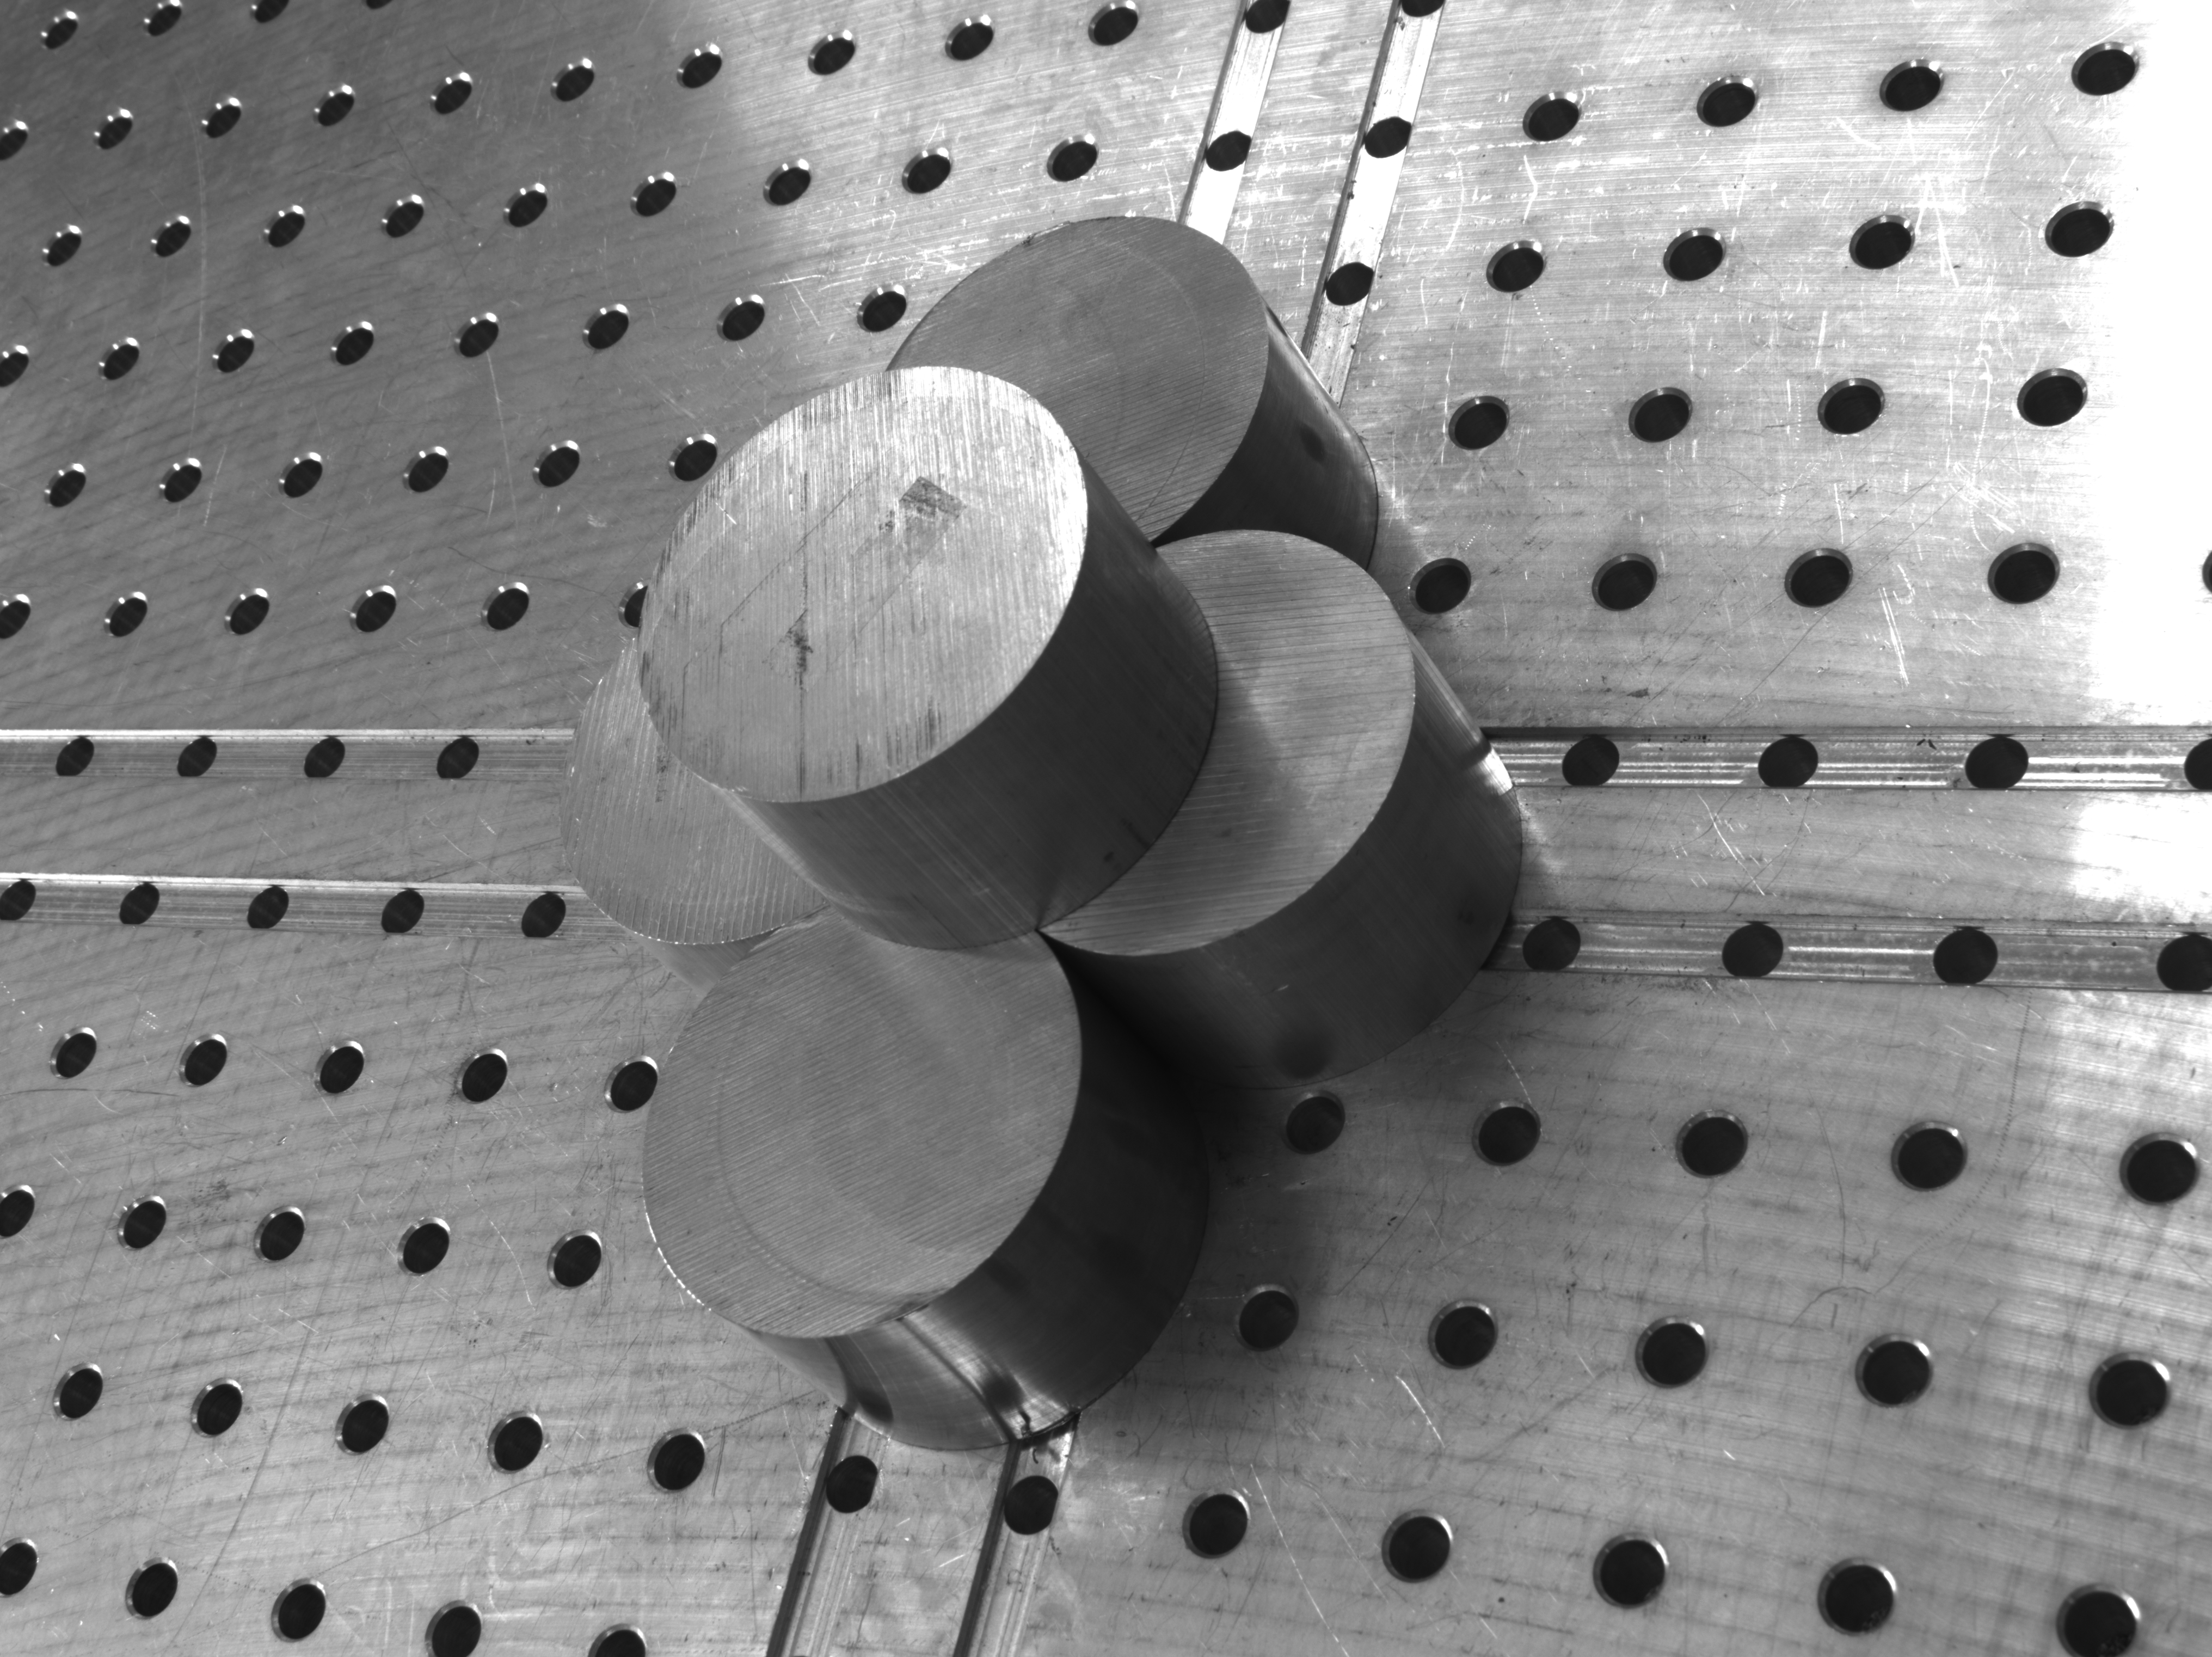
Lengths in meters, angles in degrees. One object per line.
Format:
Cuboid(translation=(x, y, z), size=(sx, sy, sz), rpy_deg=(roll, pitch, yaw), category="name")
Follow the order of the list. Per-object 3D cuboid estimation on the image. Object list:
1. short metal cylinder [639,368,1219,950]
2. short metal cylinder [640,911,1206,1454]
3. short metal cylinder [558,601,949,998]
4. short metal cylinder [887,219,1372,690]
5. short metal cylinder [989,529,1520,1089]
Cuboid(translation=(-0.028, -0.027, 0.599), size=(0.080, 0.050, 0.080), rpy_deg=(-14, 56, 21), category="short metal cylinder")
Cuboid(translation=(-0.030, 0.057, 0.613), size=(0.080, 0.050, 0.080), rpy_deg=(-14, 54, 20), category="short metal cylinder")
Cuboid(translation=(-0.051, -0.003, 0.662), size=(0.080, 0.050, 0.080), rpy_deg=(-14, 56, 21), category="short metal cylinder")
Cuboid(translation=(0.002, -0.063, 0.670), size=(0.080, 0.050, 0.080), rpy_deg=(-13, 56, 20), category="short metal cylinder")
Cuboid(translation=(0.023, -0.003, 0.621), size=(0.080, 0.050, 0.080), rpy_deg=(-14, 56, 21), category="short metal cylinder")
